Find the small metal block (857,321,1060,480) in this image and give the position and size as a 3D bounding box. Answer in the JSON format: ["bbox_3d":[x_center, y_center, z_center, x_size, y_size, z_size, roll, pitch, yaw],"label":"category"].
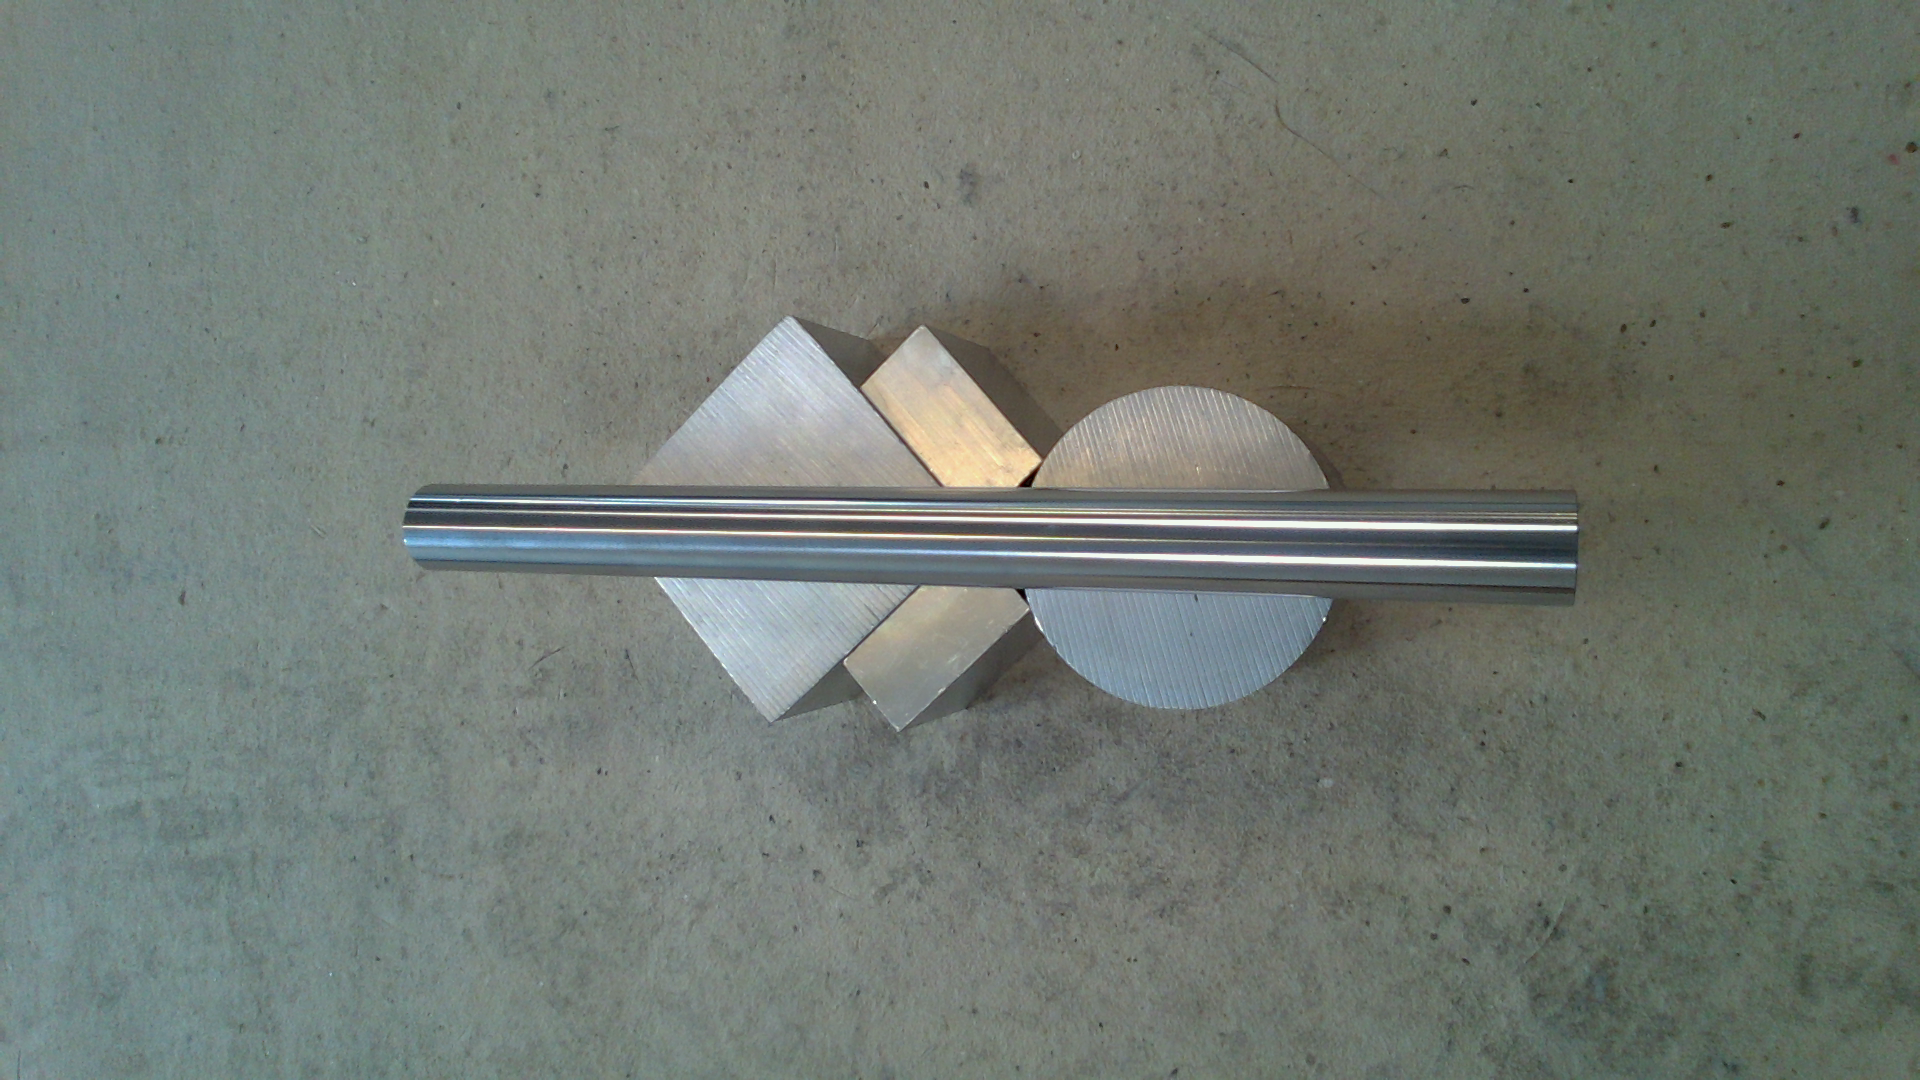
[{"bbox_3d":[0.006,-0.031,0.381,0.025,0.050,0.050,-44,77,15],"label":"small metal block"}]

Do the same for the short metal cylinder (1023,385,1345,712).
[{"bbox_3d":[0.060,0.002,0.360,0.080,0.050,0.080,0,90,20],"label":"short metal cylinder"}]

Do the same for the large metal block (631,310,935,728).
[{"bbox_3d":[-0.041,-0.006,0.396,0.080,0.050,0.080,-44,76,15],"label":"large metal block"}]

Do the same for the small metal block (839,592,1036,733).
[{"bbox_3d":[0.001,0.025,0.383,0.050,0.050,0.025,-44,76,15],"label":"small metal block"}]

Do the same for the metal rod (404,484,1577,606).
[{"bbox_3d":[-0.010,-0.001,0.344,0.299,0.025,0.025,1,90,20],"label":"metal rod"}]
